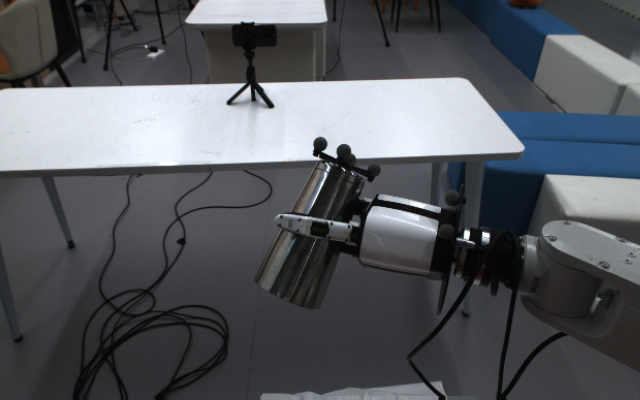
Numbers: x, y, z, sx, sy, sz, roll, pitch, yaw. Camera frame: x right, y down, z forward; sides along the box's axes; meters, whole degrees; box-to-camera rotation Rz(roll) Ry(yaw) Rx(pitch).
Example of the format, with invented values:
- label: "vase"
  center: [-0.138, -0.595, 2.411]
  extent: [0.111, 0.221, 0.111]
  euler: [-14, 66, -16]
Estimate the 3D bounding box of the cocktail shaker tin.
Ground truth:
- label: "cocktail shaker tin"
  center: [-0.005, 0.038, 0.612]
  extent: [0.093, 0.170, 0.093]
  euler: [23, 0, 0]
